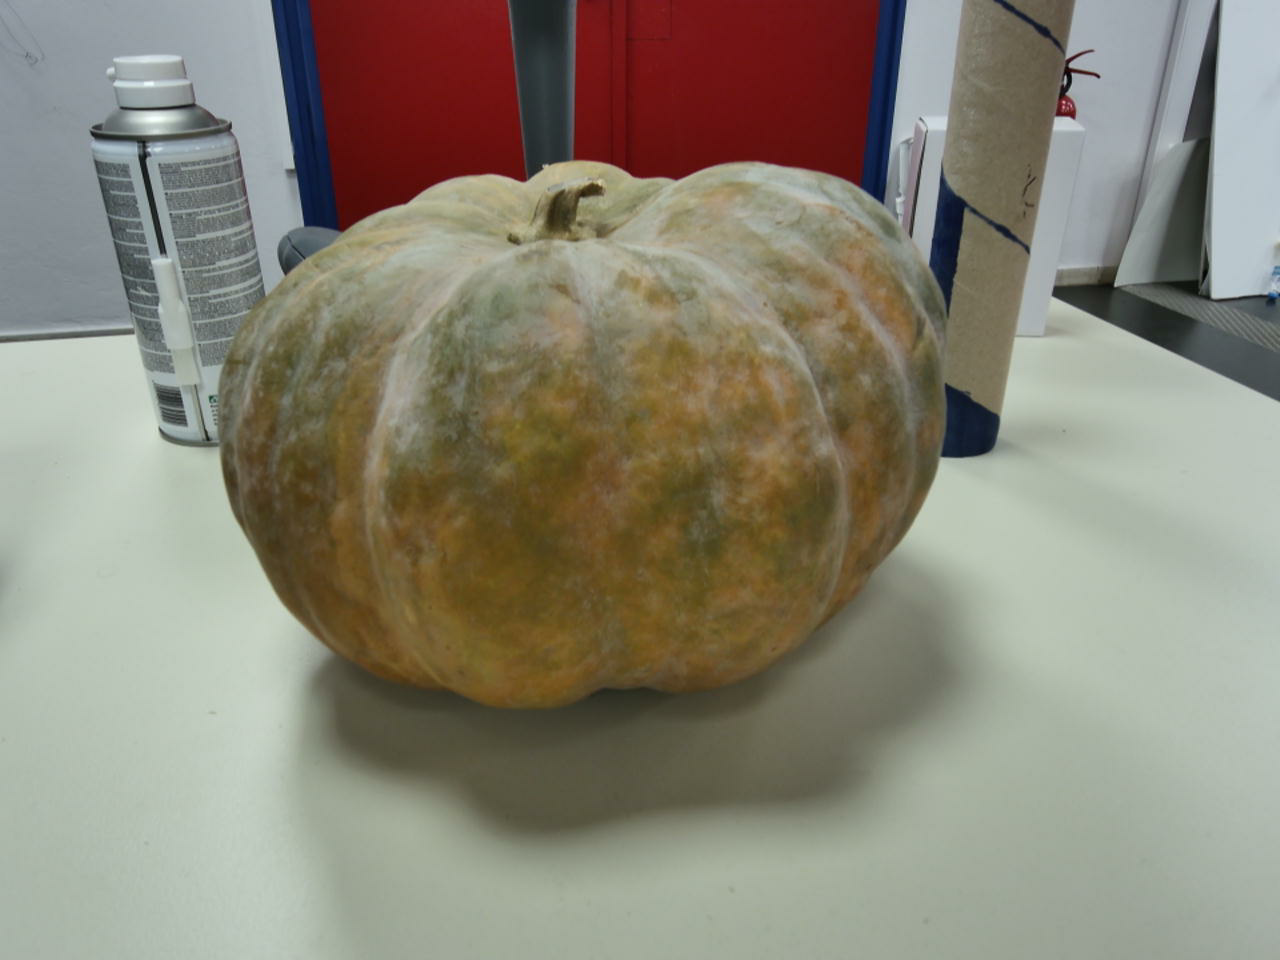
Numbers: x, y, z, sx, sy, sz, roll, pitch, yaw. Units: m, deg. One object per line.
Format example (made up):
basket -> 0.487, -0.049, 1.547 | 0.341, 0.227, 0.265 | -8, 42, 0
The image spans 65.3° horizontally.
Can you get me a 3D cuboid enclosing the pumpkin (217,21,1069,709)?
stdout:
pumpkin -> -0.022, -0.025, 0.360 | 0.252, 0.169, 0.251 | 0, 25, 0
